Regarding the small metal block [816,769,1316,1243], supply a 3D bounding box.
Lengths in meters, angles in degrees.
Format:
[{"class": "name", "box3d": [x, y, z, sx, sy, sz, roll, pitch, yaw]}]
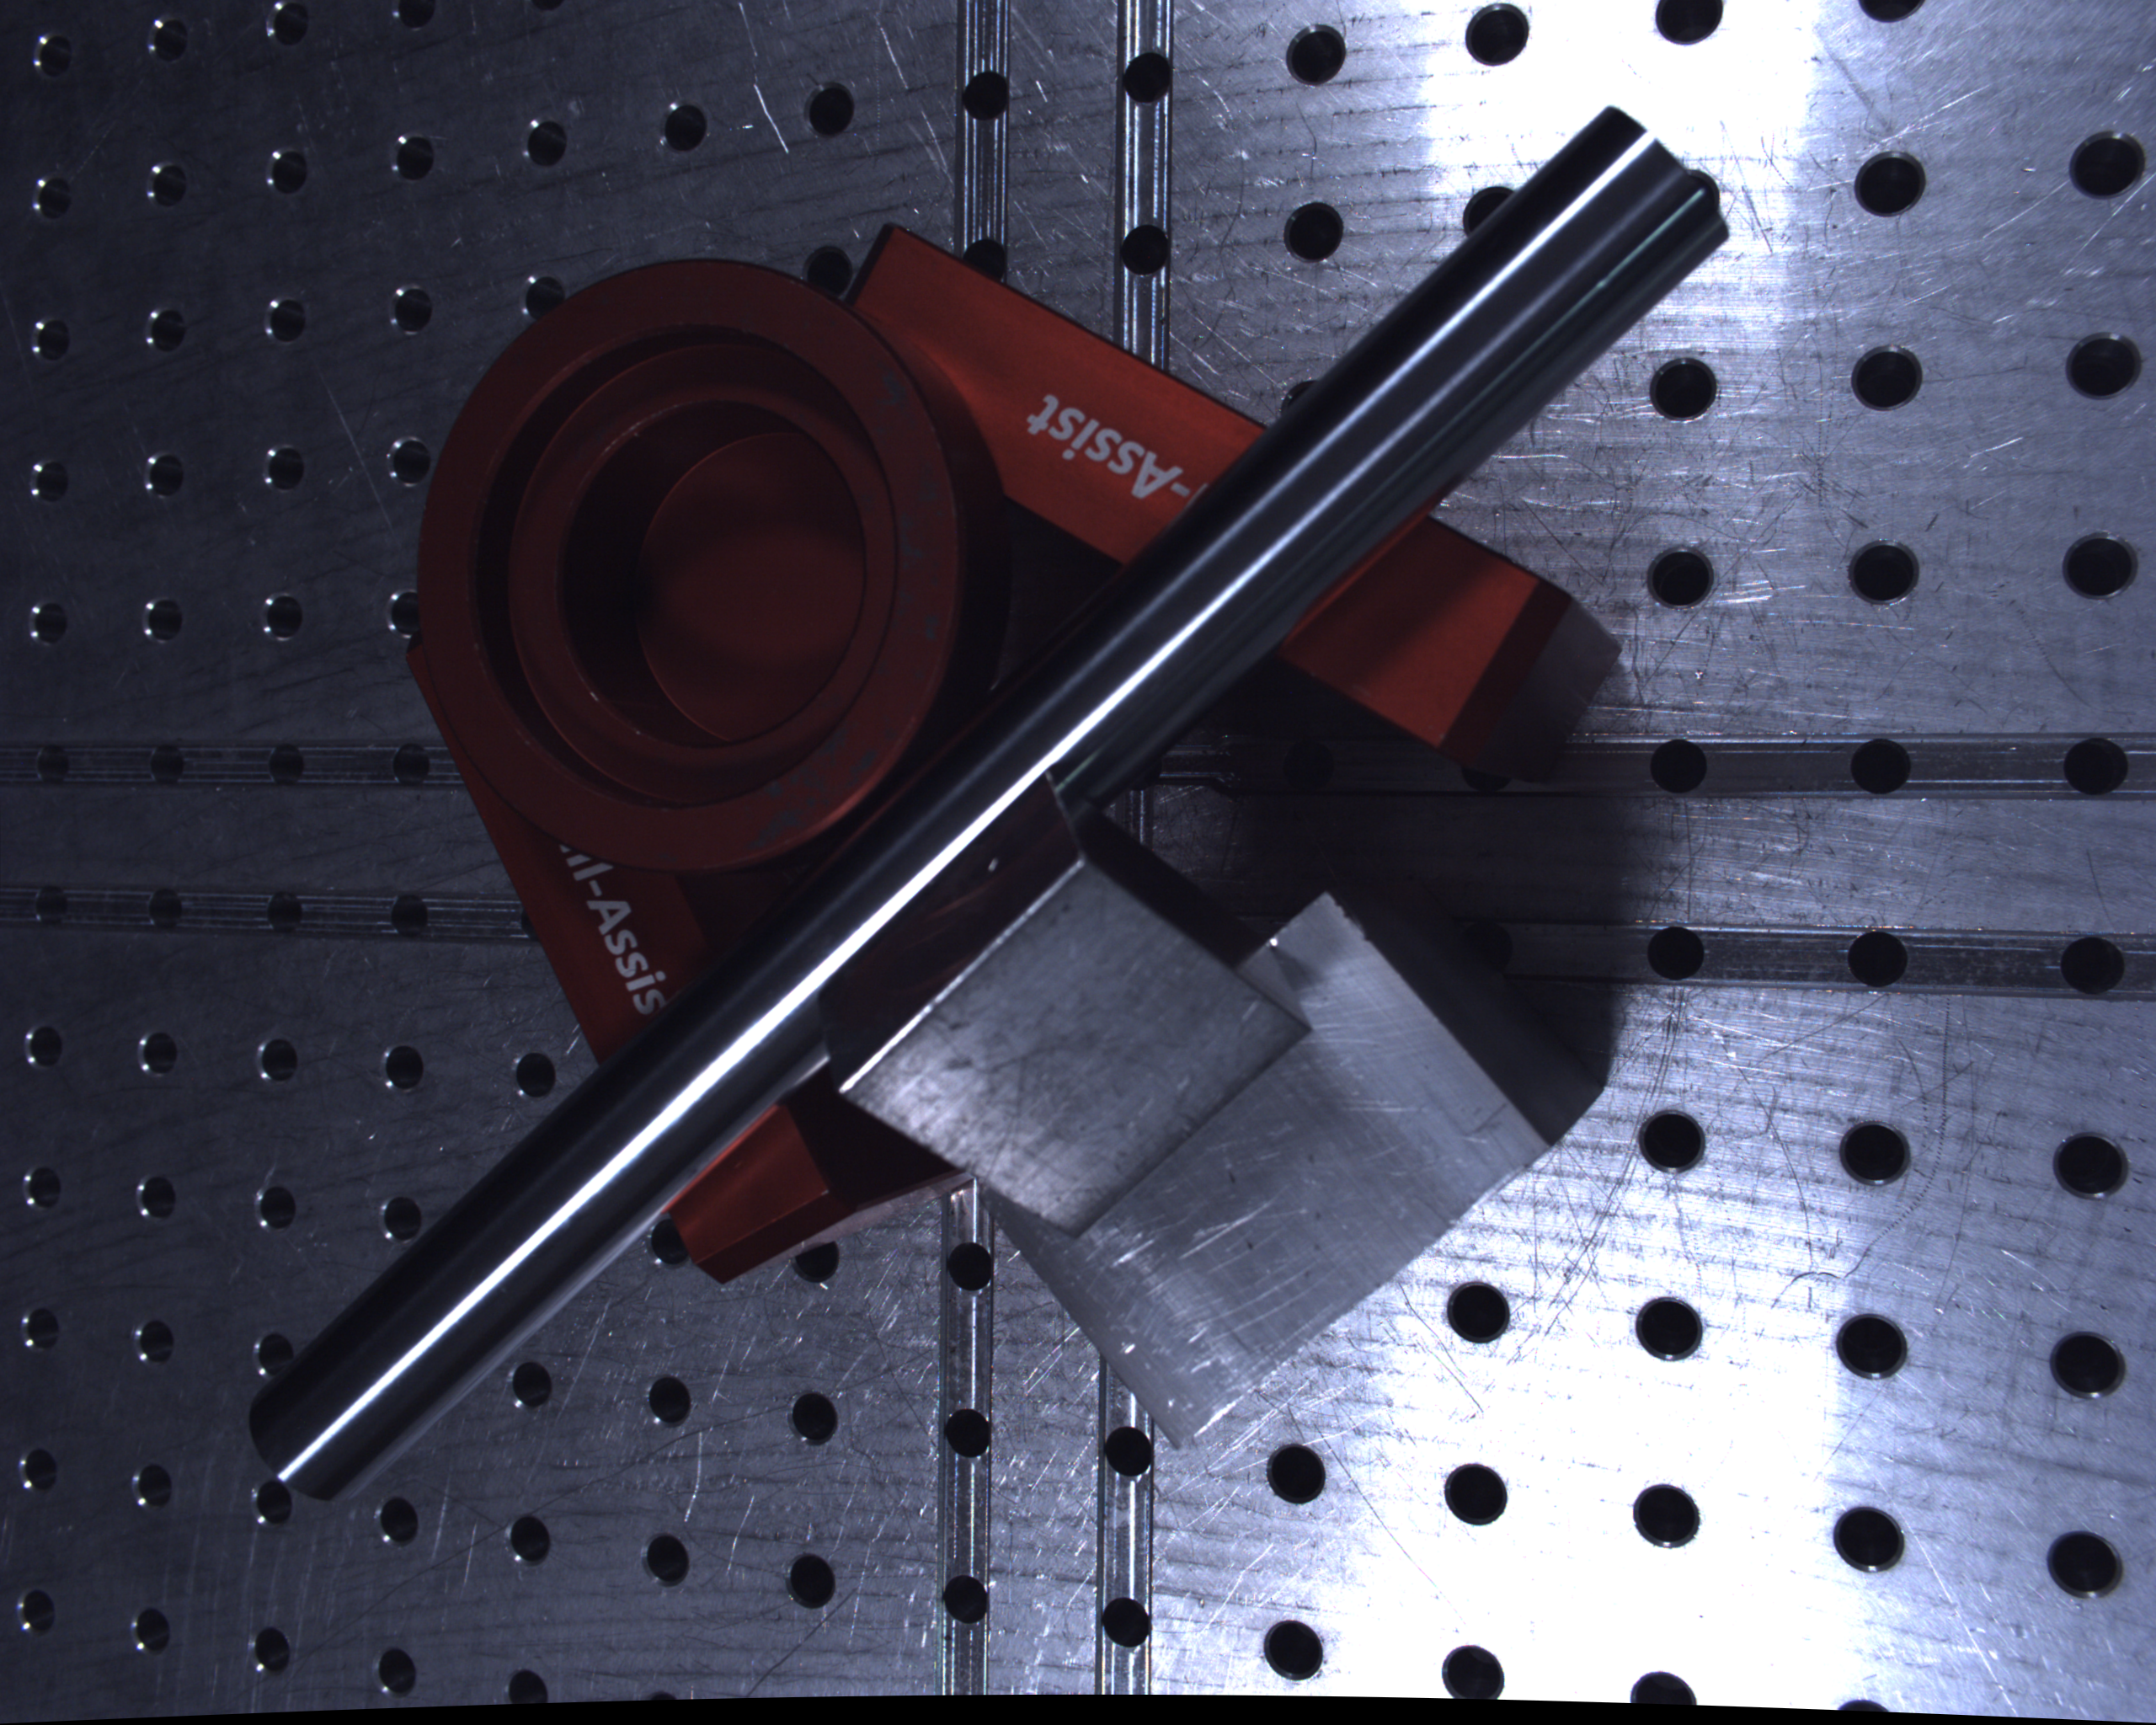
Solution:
[{"class": "small metal block", "box3d": [-0.002, 0.022, 0.312, 0.050, 0.050, 0.025, -44, 32, 14]}]

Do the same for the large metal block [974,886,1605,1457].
[{"class": "large metal block", "box3d": [0.041, 0.050, 0.365, 0.080, 0.080, 0.050, -43, 77, 15]}]

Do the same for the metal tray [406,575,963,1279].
[{"class": "metal tray", "box3d": [-0.065, 0.008, 0.399, 0.030, 0.090, 0.130, -31, 80, 17]}]

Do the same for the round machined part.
[{"class": "round machined part", "box3d": [-0.056, -0.047, 0.349, 0.098, 0.042, 0.097, 0, 90, 19]}]

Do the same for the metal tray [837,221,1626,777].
[{"class": "metal tray", "box3d": [0.028, -0.061, 0.367, 0.130, 0.090, 0.030, 33, 102, 16]}]

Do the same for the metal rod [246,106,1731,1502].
[{"class": "metal rod", "box3d": [-0.026, 0.003, 0.325, 0.299, 0.025, 0.025, -42, 77, 14]}]
